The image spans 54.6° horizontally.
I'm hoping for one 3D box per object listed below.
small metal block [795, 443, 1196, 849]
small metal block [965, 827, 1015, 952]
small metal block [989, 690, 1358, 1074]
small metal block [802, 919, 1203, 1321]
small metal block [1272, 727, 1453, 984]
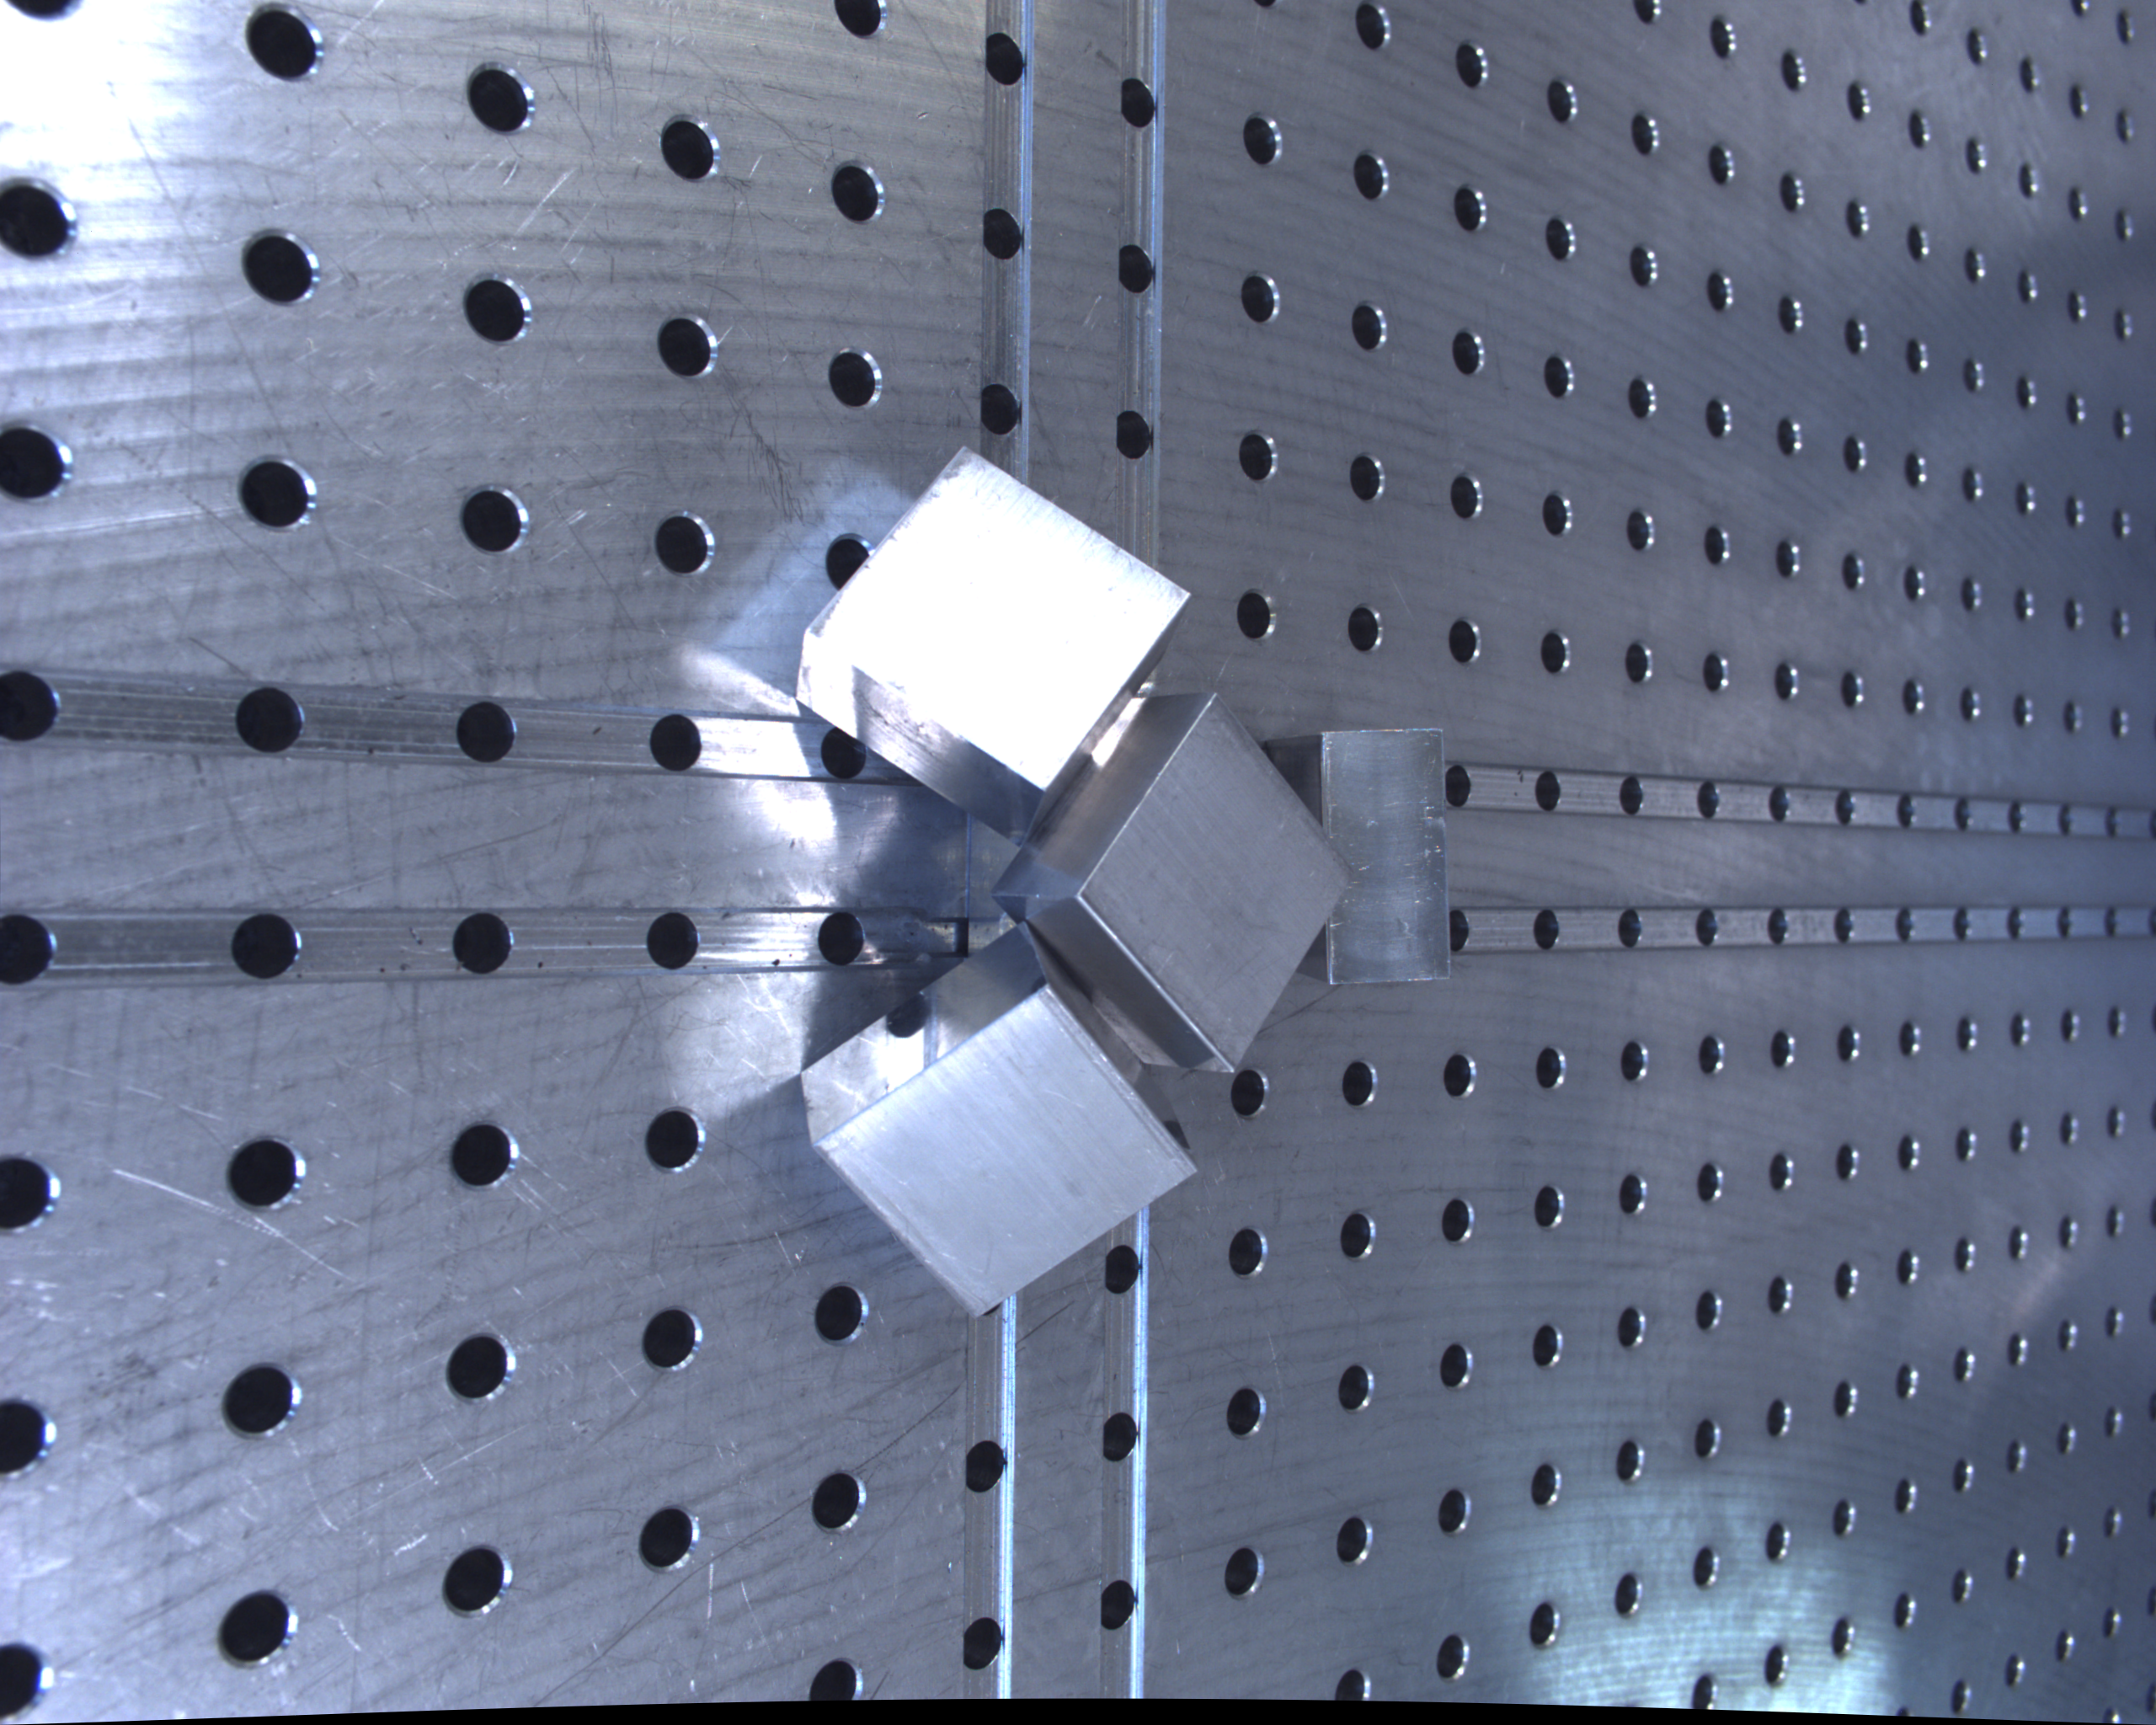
[{"bbox_3d":[-0.015,-0.039,0.379,0.050,0.025,0.050,34,64,4],"label":"small metal block"},{"bbox_3d":[0.006,0.004,0.413,0.050,0.025,0.050,2,92,-40],"label":"small metal block"},{"bbox_3d":[0.019,0.004,0.391,0.050,0.025,0.050,49,61,-29],"label":"small metal block"},{"bbox_3d":[-0.014,0.047,0.380,0.050,0.025,0.050,-35,117,6],"label":"small metal block"},{"bbox_3d":[0.058,-0.002,0.437,0.025,0.050,0.050,-2,92,-7],"label":"small metal block"}]
